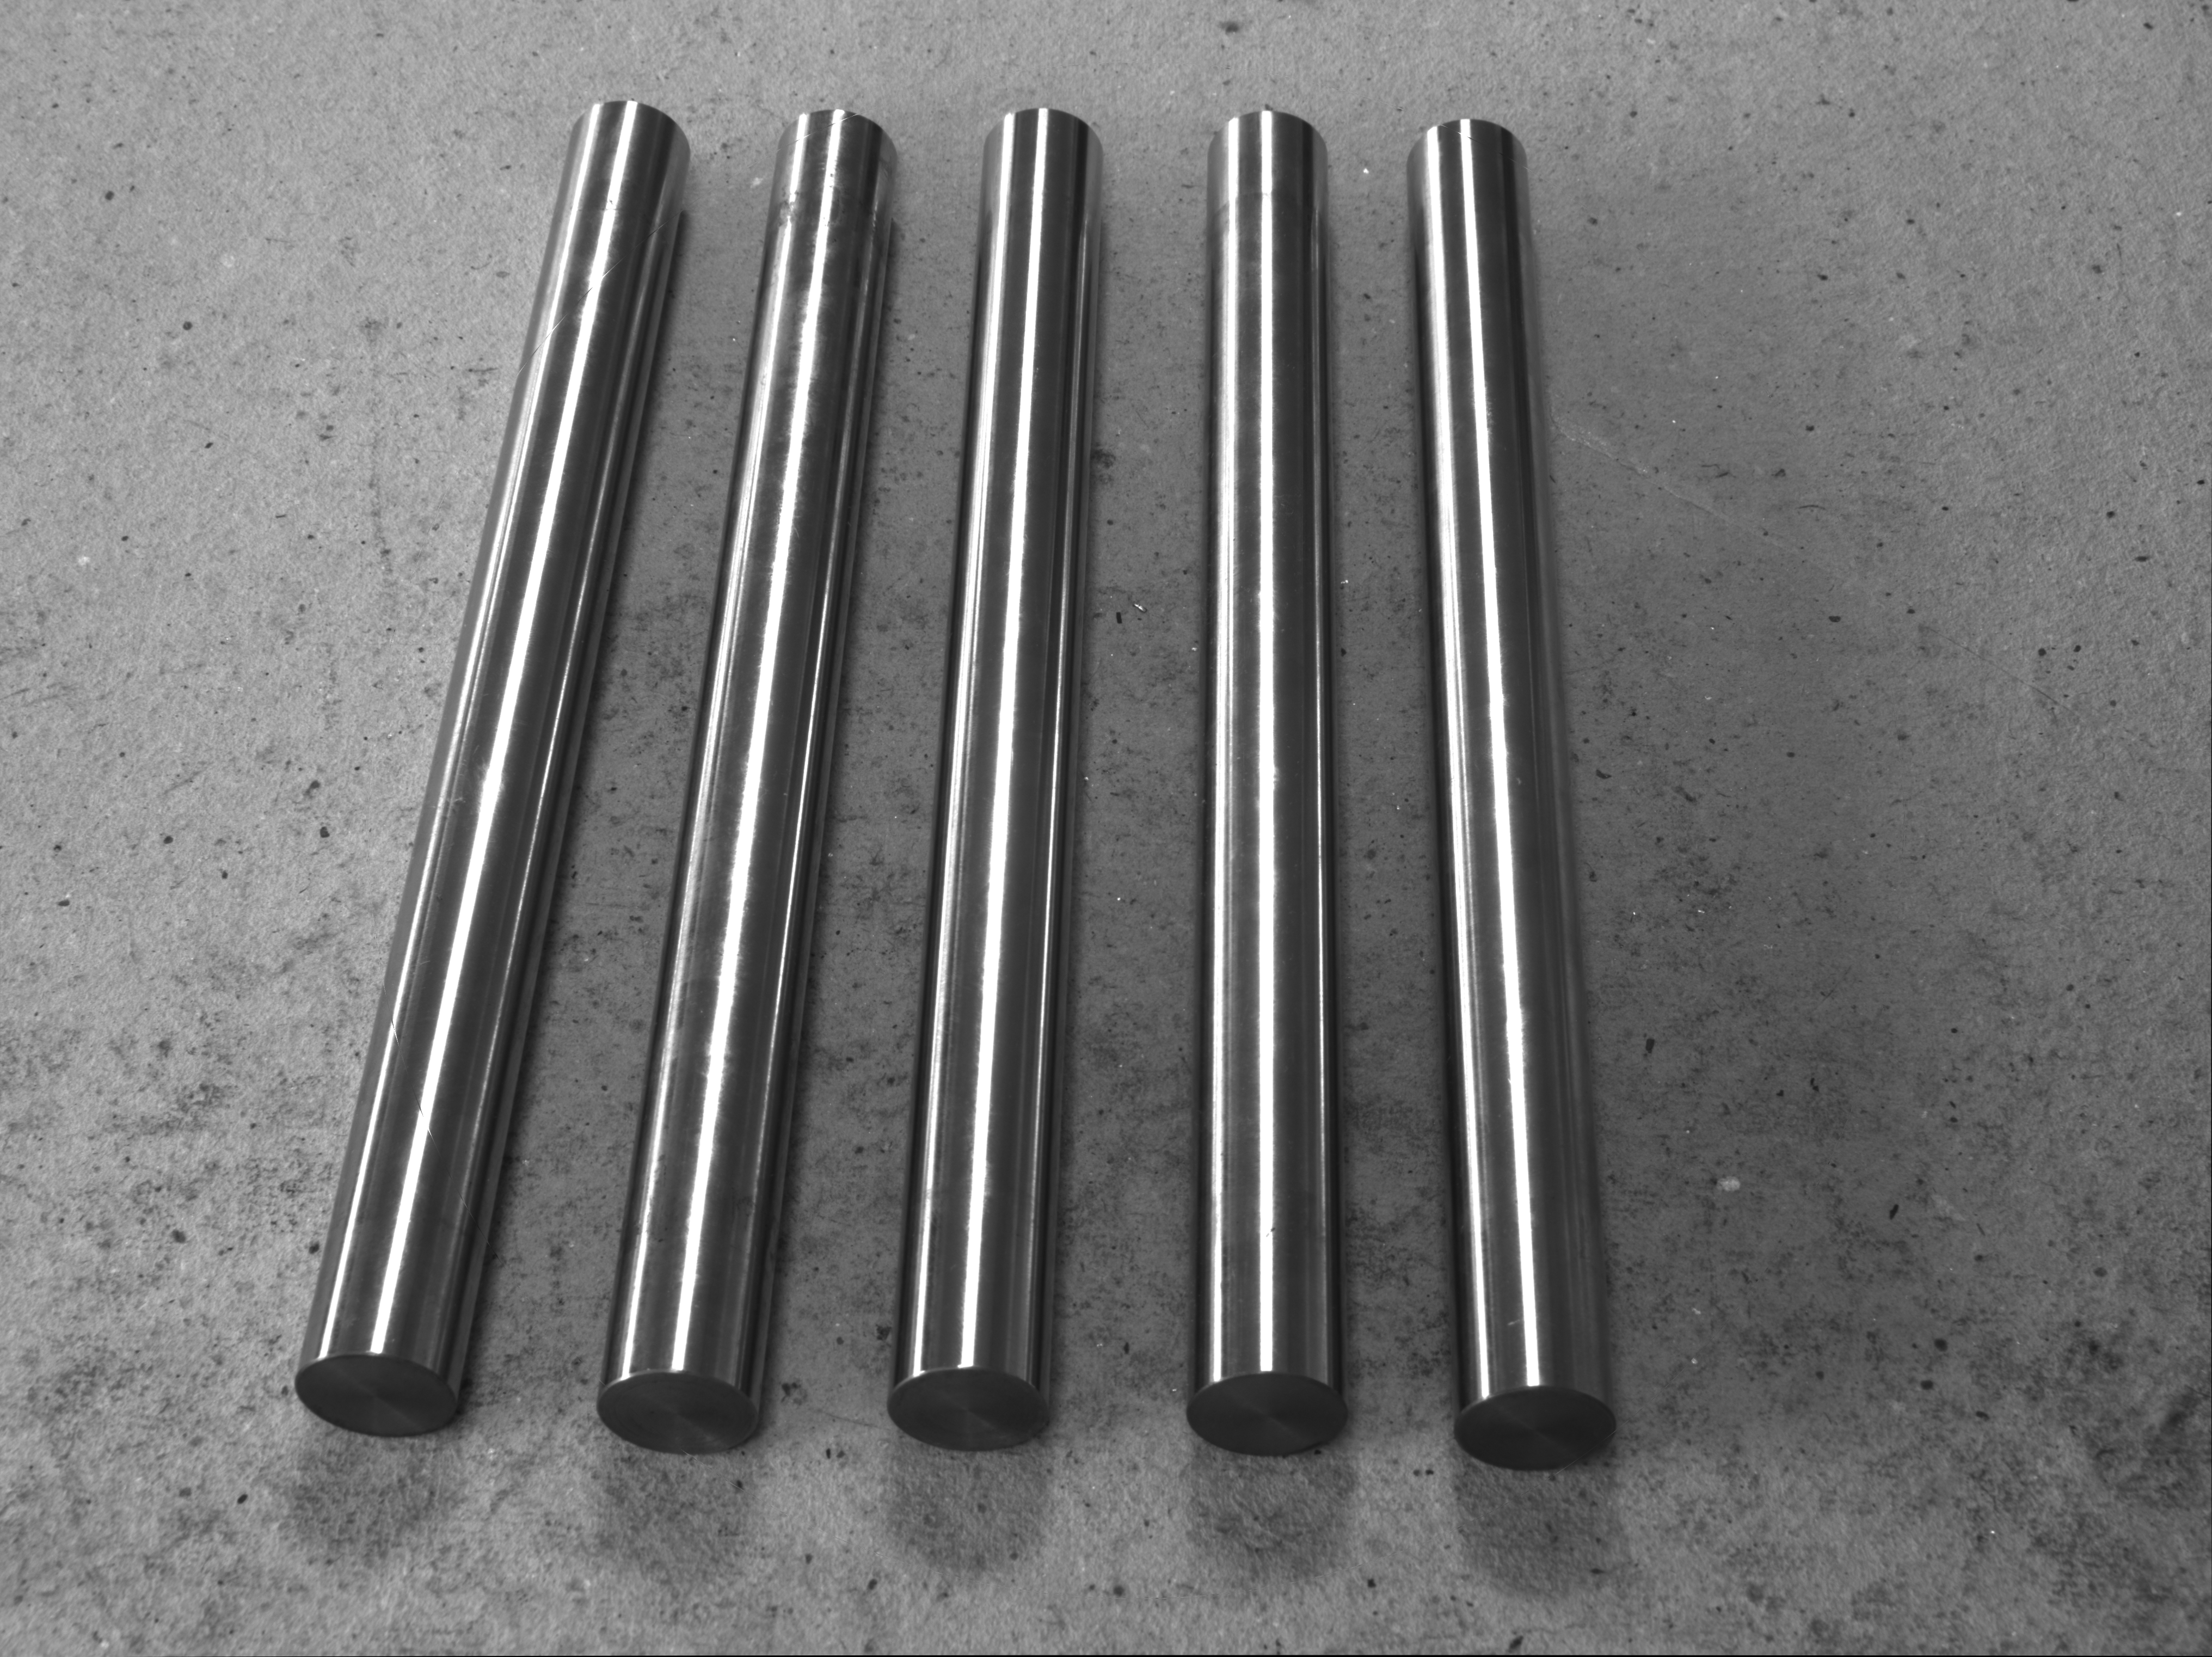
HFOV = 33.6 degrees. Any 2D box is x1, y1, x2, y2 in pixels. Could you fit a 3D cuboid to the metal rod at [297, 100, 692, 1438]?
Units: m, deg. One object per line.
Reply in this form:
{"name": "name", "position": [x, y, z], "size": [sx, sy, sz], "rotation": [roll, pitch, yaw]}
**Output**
{"name": "metal rod", "position": [-0.105, -0.027, 0.663], "size": [0.025, 0.025, 0.300], "rotation": [2, 50, 2]}

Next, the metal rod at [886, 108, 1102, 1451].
{"name": "metal rod", "position": [-0.017, -0.025, 0.663], "size": [0.025, 0.025, 0.300], "rotation": [1, 50, 1]}

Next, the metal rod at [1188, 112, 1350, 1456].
{"name": "metal rod", "position": [0.029, -0.024, 0.662], "size": [0.025, 0.025, 0.300], "rotation": [1, 50, 1]}

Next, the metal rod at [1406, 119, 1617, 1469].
{"name": "metal rod", "position": [0.070, -0.022, 0.661], "size": [0.025, 0.025, 0.300], "rotation": [1, 50, 1]}

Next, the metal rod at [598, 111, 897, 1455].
{"name": "metal rod", "position": [-0.061, -0.024, 0.662], "size": [0.025, 0.025, 0.300], "rotation": [1, 50, 1]}
